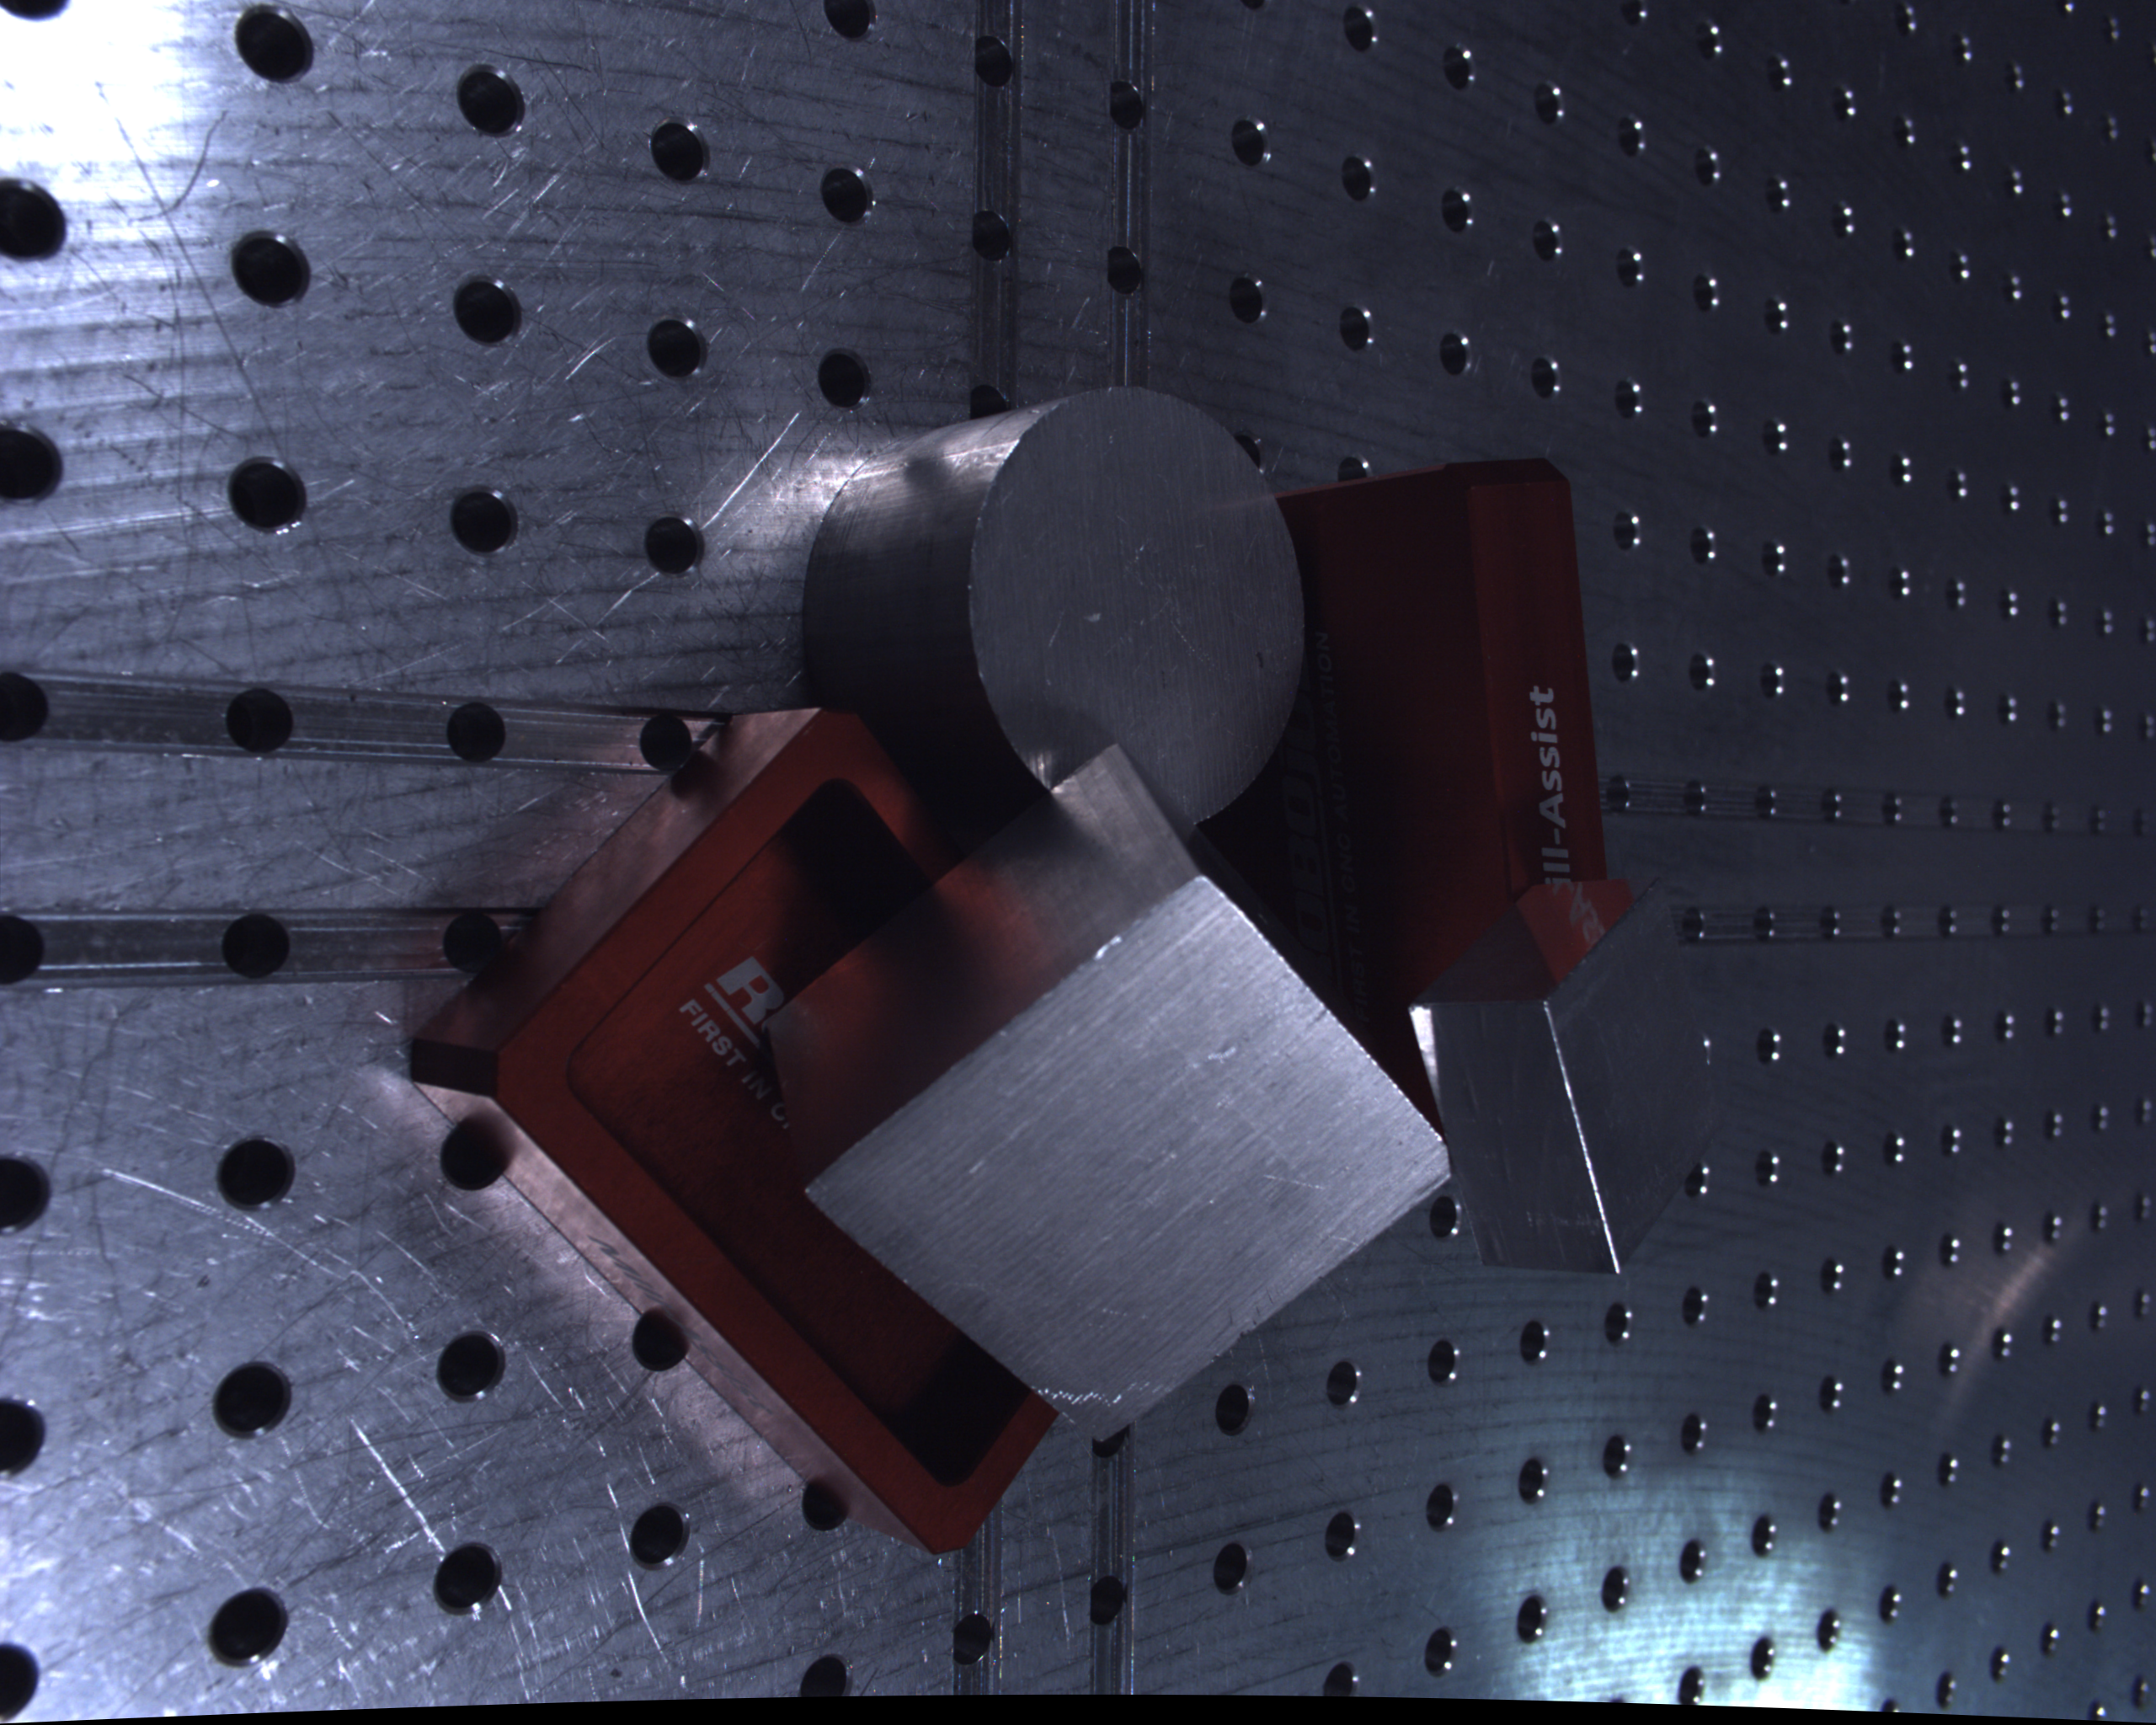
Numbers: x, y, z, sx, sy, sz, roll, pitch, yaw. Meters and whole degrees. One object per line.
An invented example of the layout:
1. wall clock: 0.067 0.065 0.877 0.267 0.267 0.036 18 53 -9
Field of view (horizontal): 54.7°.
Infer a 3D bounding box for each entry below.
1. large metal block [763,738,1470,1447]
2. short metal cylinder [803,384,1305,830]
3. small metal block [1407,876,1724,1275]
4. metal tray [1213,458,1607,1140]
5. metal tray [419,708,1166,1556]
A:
1. large metal block: 0.006 0.040 0.359 0.080 0.050 0.080 -39 121 6
2. short metal cylinder: -0.004 -0.045 0.391 0.081 0.050 0.079 0 90 -40
3. small metal block: 0.086 0.036 0.360 0.050 0.025 0.050 -35 113 -47
4. metal tray: 0.059 -0.010 0.418 0.030 0.090 0.129 -12 98 -40
5. metal tray: -0.040 0.048 0.373 0.090 0.030 0.130 -51 120 -28
